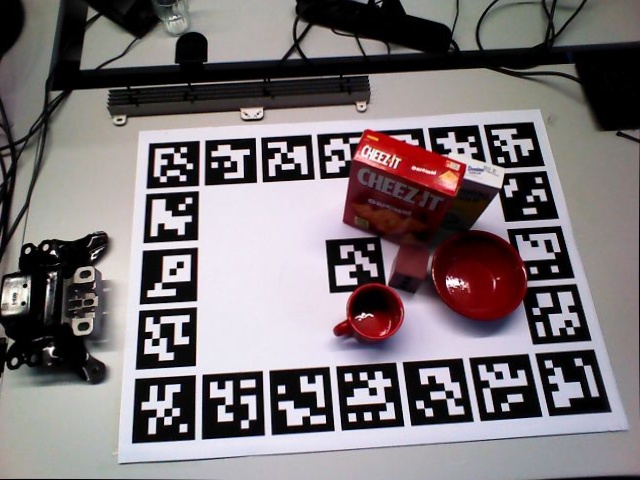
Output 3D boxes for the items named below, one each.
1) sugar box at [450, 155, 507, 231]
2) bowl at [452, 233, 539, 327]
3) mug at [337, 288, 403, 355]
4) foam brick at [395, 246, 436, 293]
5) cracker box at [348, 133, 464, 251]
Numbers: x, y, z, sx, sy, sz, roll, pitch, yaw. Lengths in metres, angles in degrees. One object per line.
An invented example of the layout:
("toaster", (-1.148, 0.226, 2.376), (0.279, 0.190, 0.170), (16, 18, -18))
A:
("sugar box", (0.250, -0.080, 0.875), (0.093, 0.177, 0.045), (17, 68, 7))
("bowl", (0.286, 0.072, 0.868), (0.162, 0.055, 0.161), (0, 69, 0))
("mug", (0.086, 0.138, 0.834), (0.117, 0.082, 0.093), (-12, 60, -3))
("foam brick", (0.162, 0.051, 0.880), (0.053, 0.078, 0.051), (11, 67, 5))
("cracker box", (0.141, -0.068, 0.852), (0.164, 0.214, 0.071), (25, 67, 9))
